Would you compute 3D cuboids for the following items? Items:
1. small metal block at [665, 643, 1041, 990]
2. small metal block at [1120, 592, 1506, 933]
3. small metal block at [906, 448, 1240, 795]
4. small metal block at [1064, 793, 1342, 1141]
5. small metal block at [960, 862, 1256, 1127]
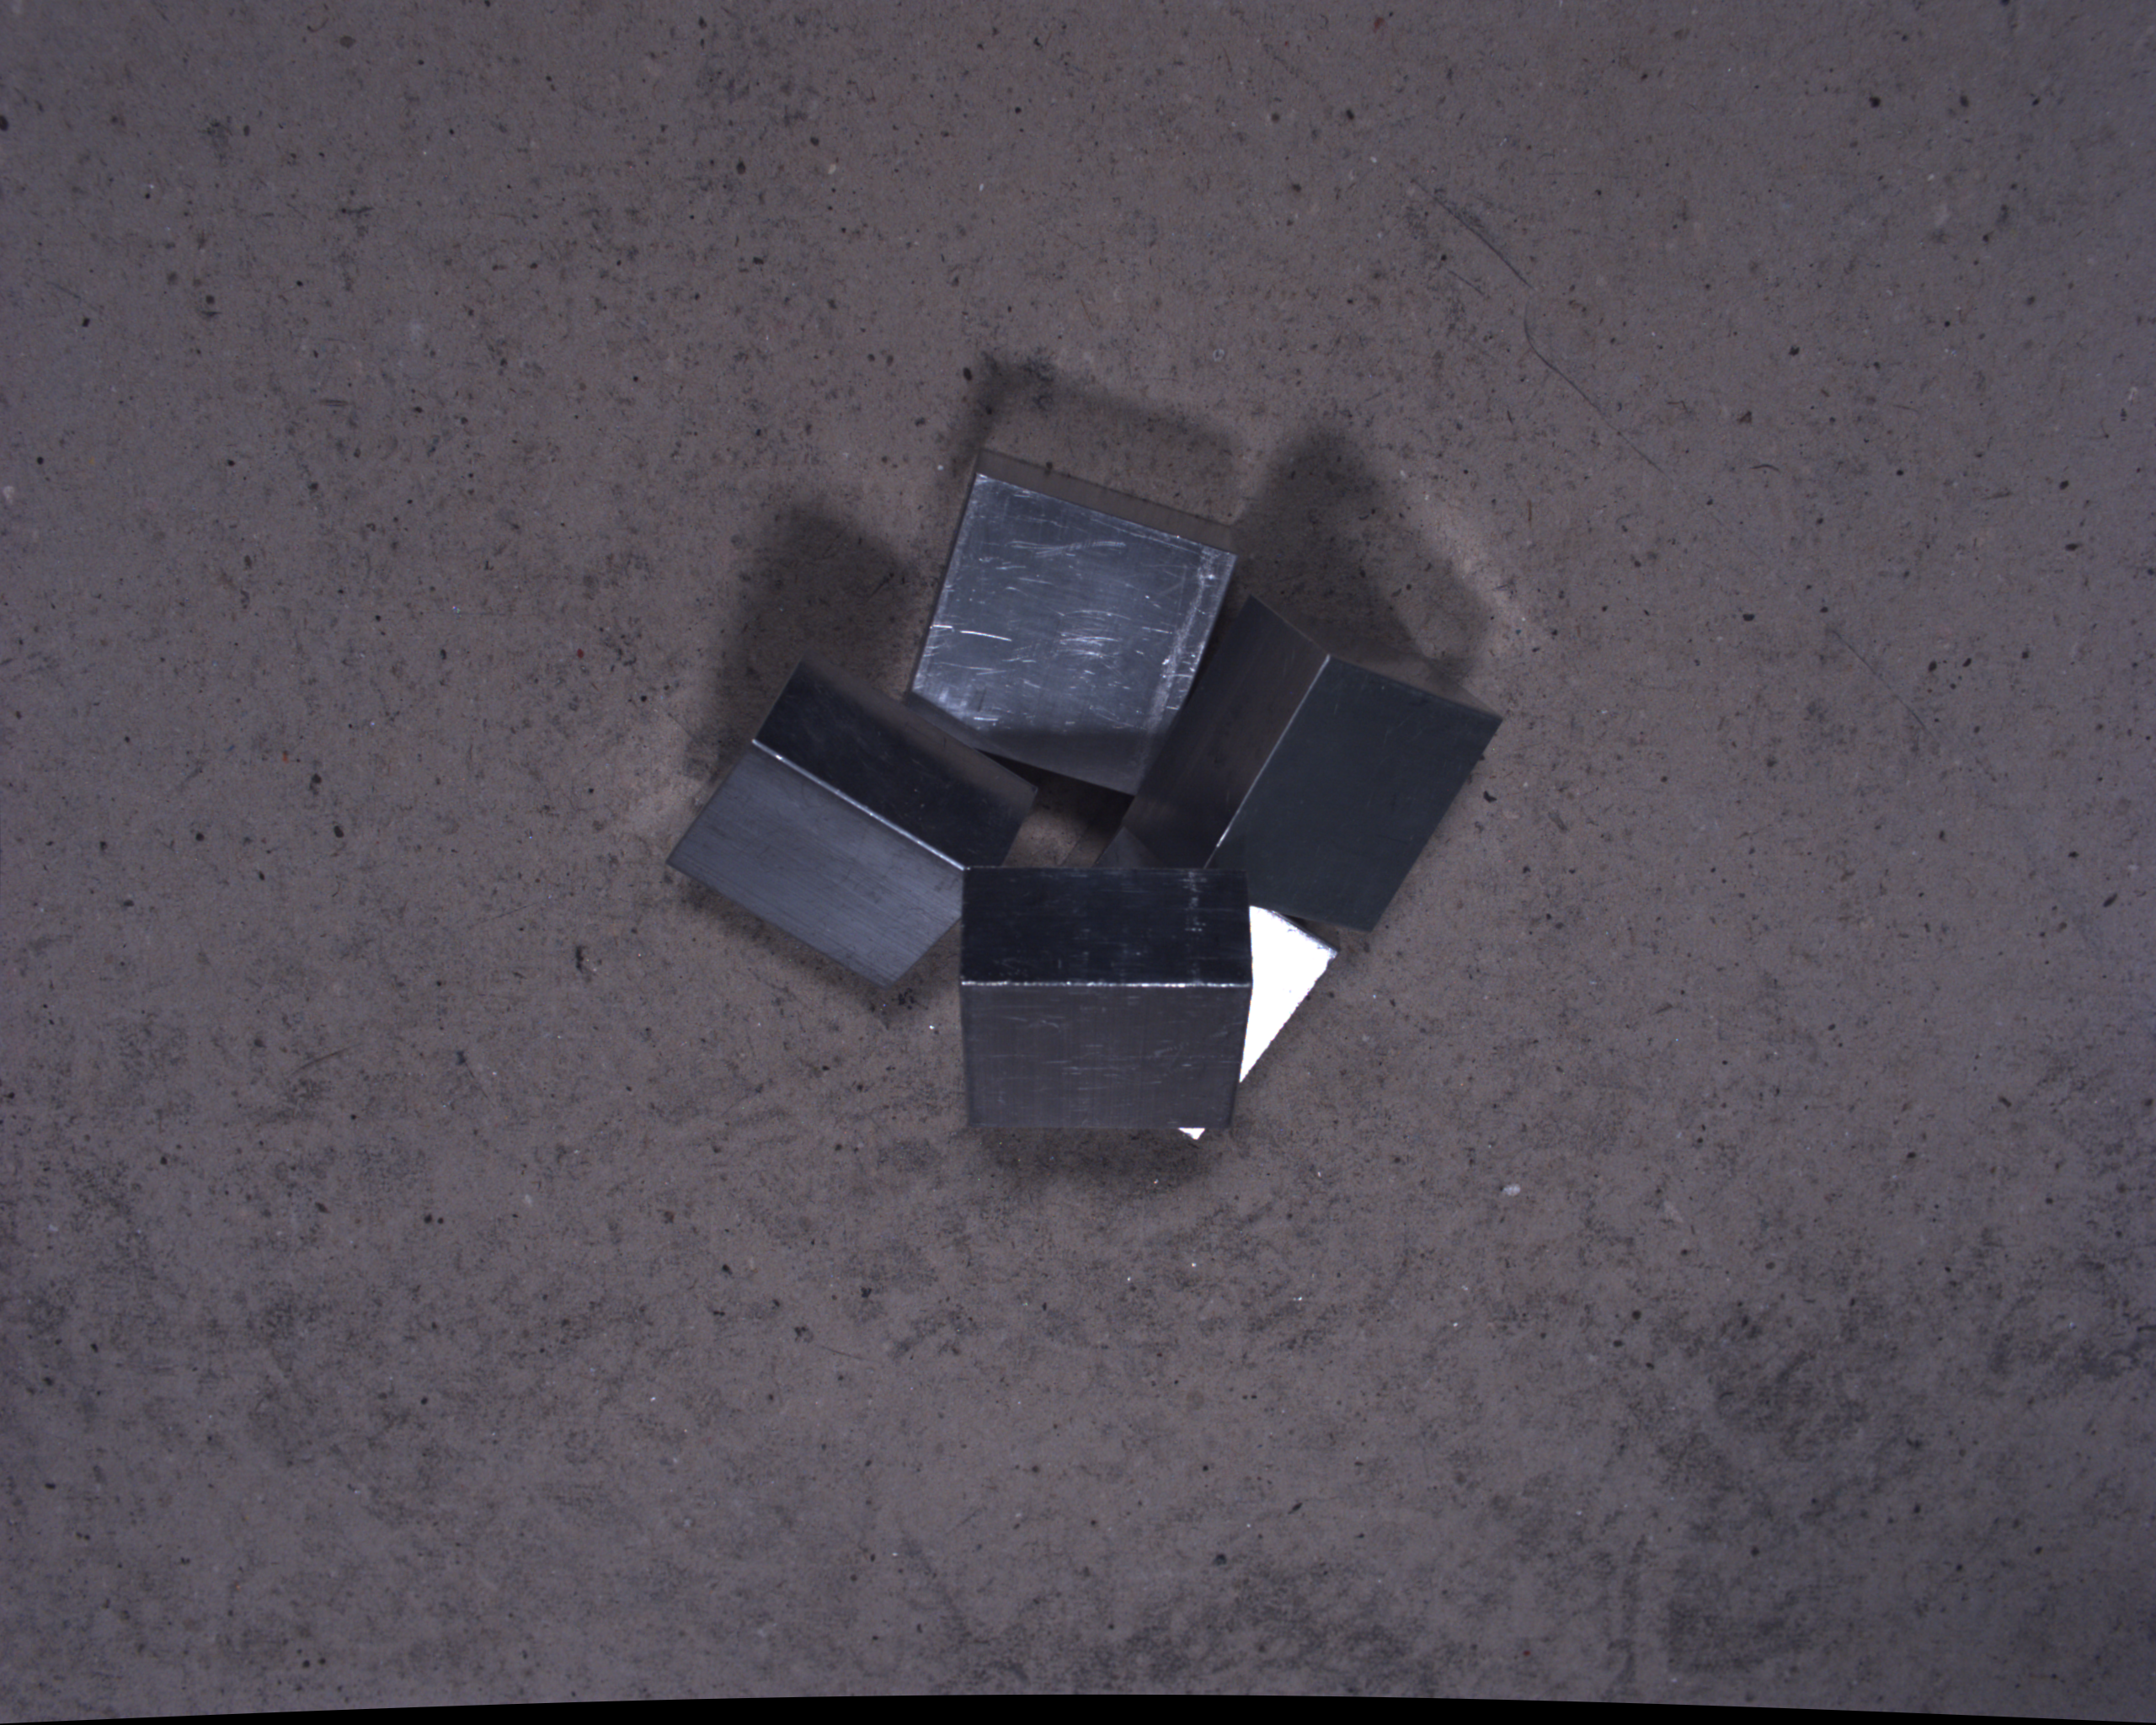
[{"bbox_3d":[-0.043,-0.007,0.395,0.050,0.025,0.050,31,143,-12],"label":"small metal block"},{"bbox_3d":[0.044,-0.018,0.393,0.050,0.025,0.050,14,114,-41],"label":"small metal block"},{"bbox_3d":[-0.002,-0.045,0.395,0.050,0.025,0.050,16,109,-7],"label":"small metal block"},{"bbox_3d":[0.016,0.019,0.419,0.050,0.025,0.050,31,107,-11],"label":"small metal block"},{"bbox_3d":[0.005,0.025,0.382,0.050,0.025,0.050,0,143,-1],"label":"small metal block"}]
